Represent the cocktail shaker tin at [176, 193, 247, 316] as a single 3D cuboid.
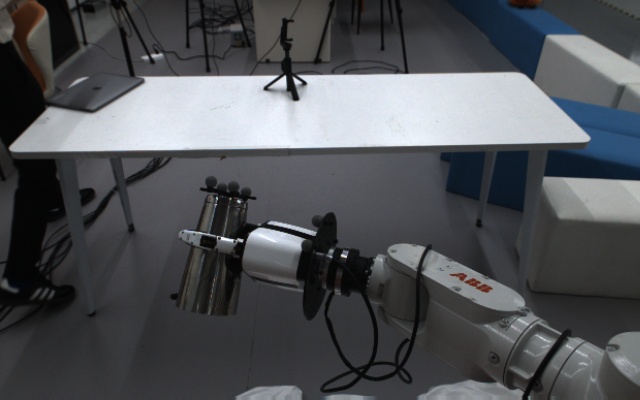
[{"bbox_3d":[-0.157,0.082,0.736,0.093,0.170,0.093,9,-6,1],"label":"cocktail shaker tin"}]
